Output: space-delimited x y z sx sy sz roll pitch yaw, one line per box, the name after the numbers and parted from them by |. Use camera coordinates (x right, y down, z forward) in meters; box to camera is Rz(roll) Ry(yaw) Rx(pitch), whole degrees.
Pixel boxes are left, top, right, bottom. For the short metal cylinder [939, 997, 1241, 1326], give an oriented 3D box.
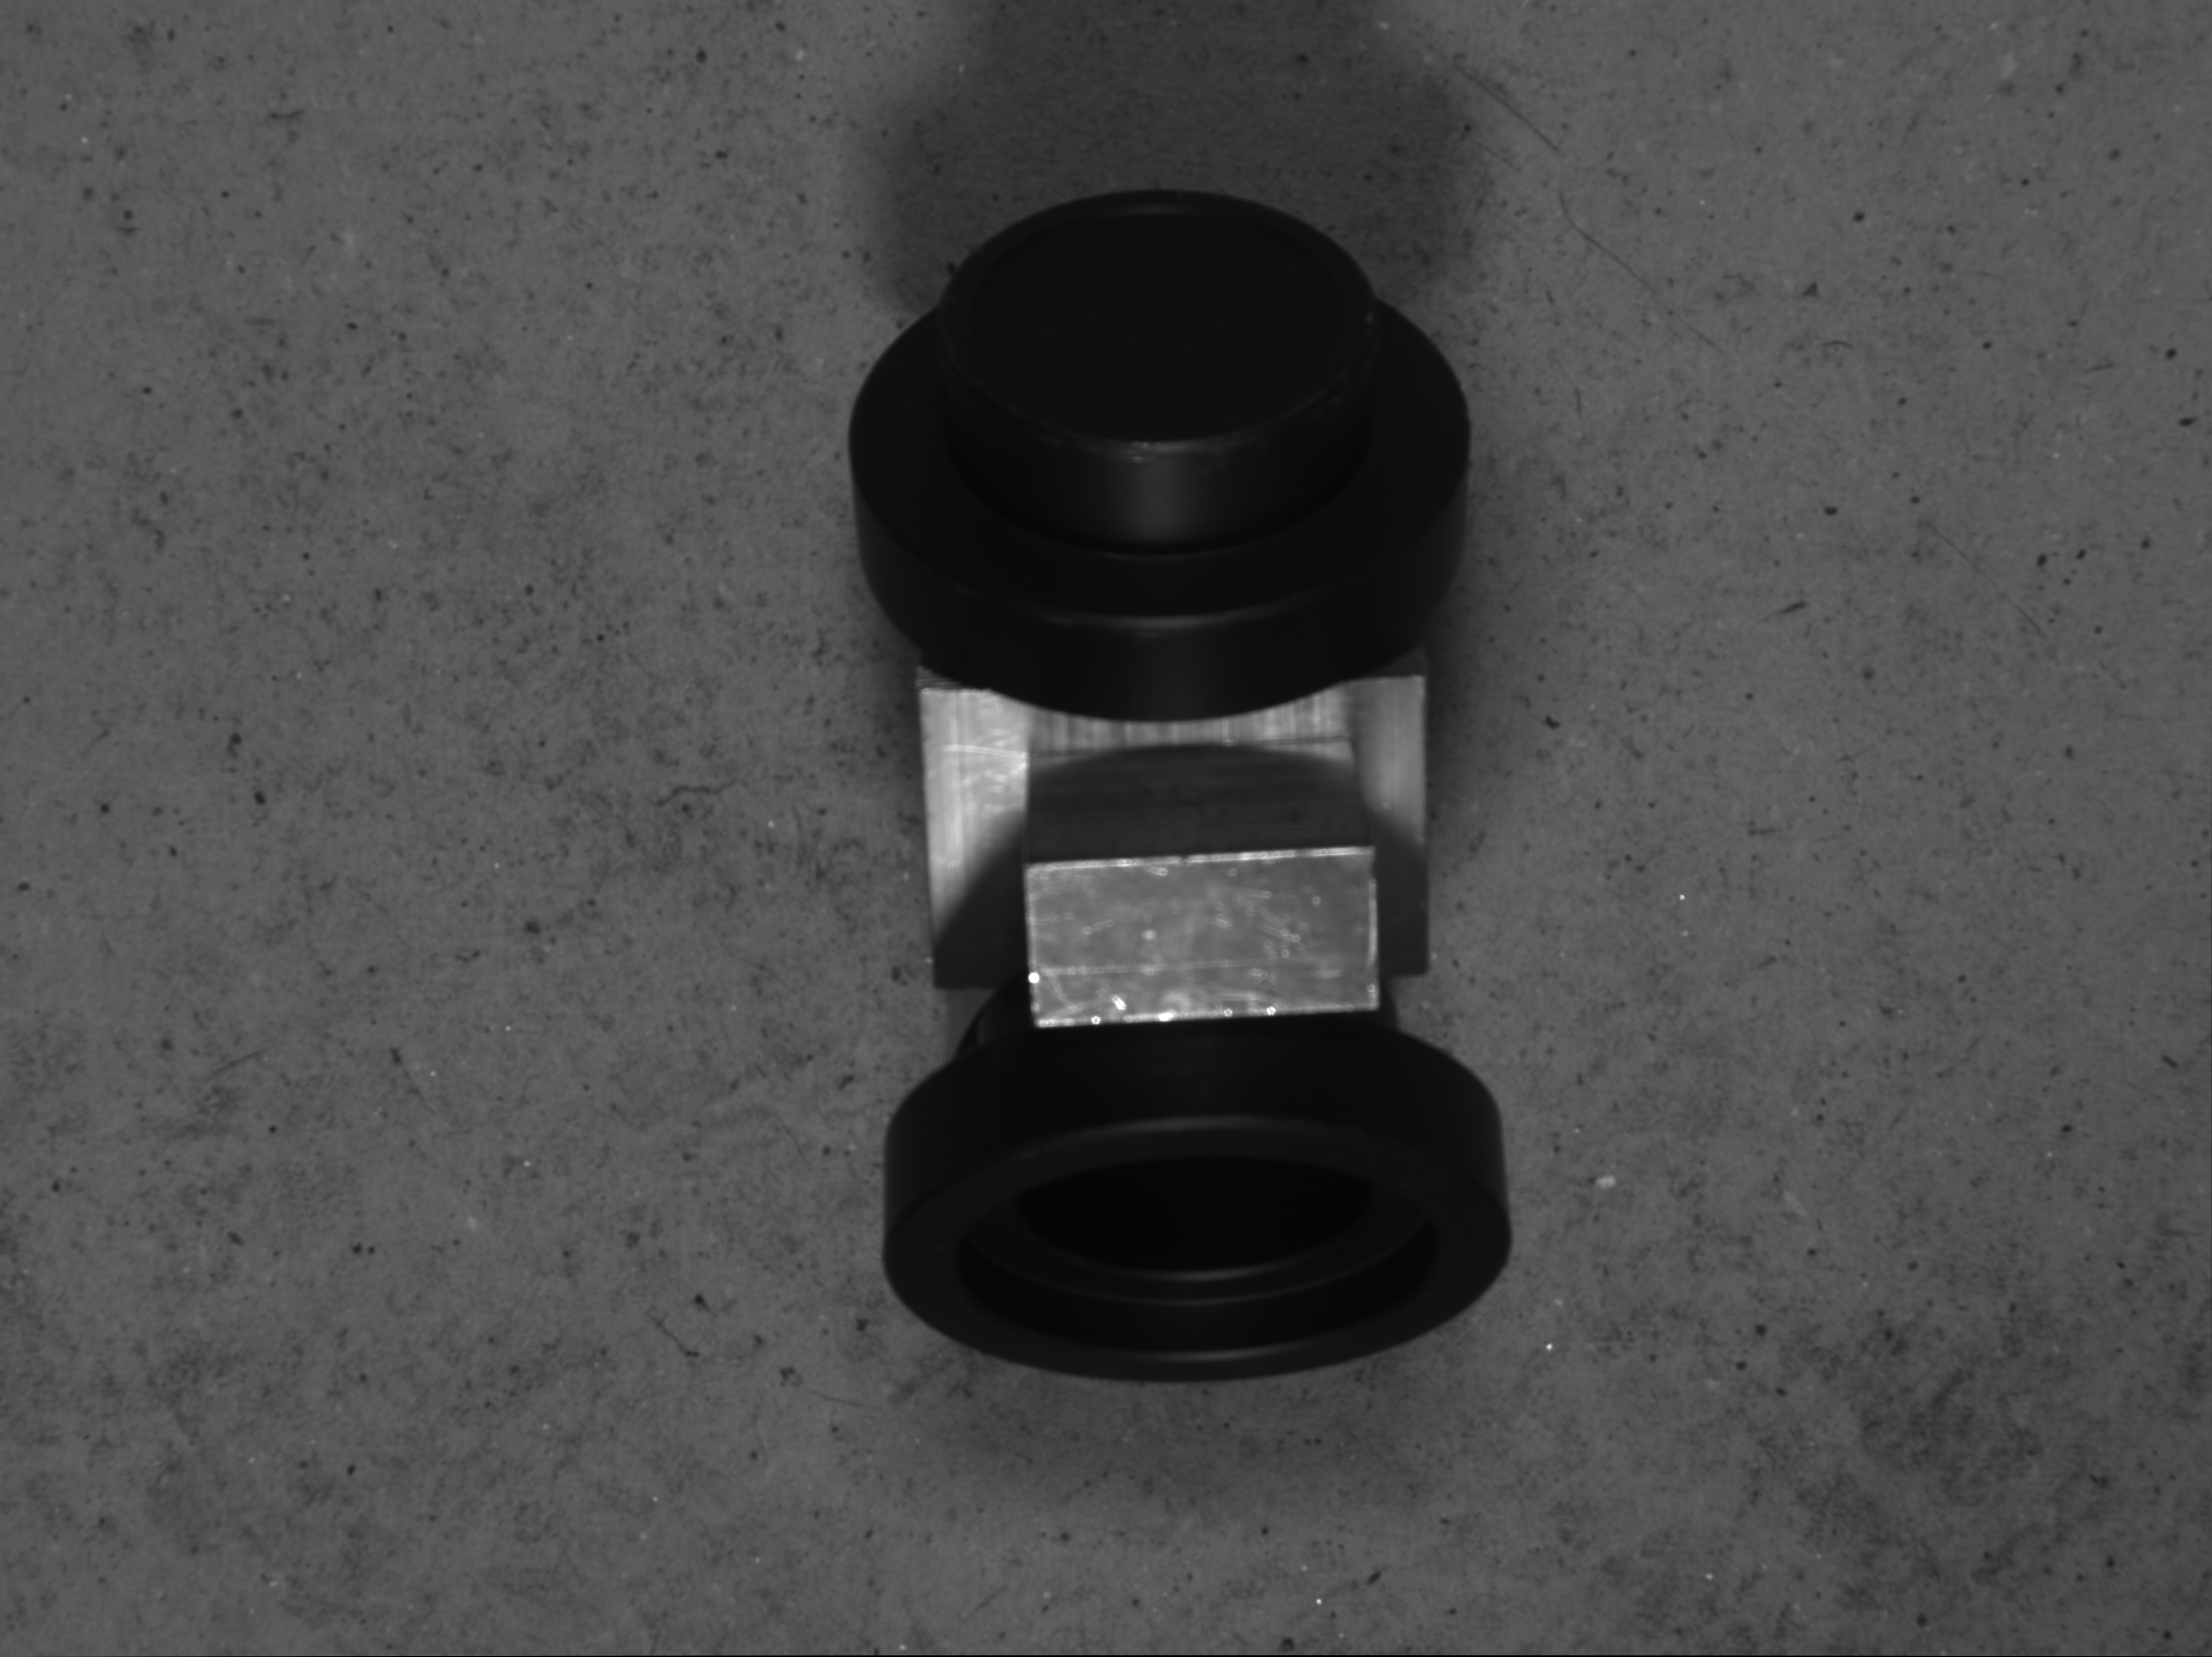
0.010 0.044 0.647 0.080 0.050 0.080 0 110 -1 | short metal cylinder

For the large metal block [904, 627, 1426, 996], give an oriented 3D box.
0.010 -0.012 0.609 0.080 0.080 0.050 -2 110 0 | large metal block

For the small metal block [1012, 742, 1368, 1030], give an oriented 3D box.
0.012 0.008 0.547 0.050 0.050 0.025 -2 110 1 | small metal block

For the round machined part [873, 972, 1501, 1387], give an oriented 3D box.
0.012 0.050 0.582 0.098 0.042 0.098 -1 148 -1 | round machined part

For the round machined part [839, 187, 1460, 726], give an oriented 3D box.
0.007 -0.064 0.577 0.098 0.098 0.042 -2 135 0 | round machined part
